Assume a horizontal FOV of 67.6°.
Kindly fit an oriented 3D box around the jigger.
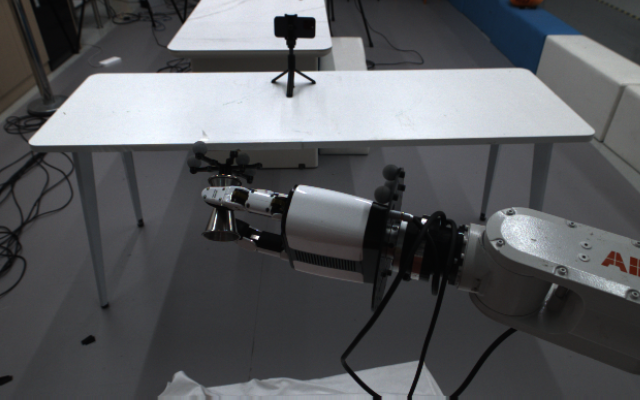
[{"bbox_3d":[-0.111,0.009,0.558,0.043,0.043,0.071,1,70,-2],"label":"jigger"}]
